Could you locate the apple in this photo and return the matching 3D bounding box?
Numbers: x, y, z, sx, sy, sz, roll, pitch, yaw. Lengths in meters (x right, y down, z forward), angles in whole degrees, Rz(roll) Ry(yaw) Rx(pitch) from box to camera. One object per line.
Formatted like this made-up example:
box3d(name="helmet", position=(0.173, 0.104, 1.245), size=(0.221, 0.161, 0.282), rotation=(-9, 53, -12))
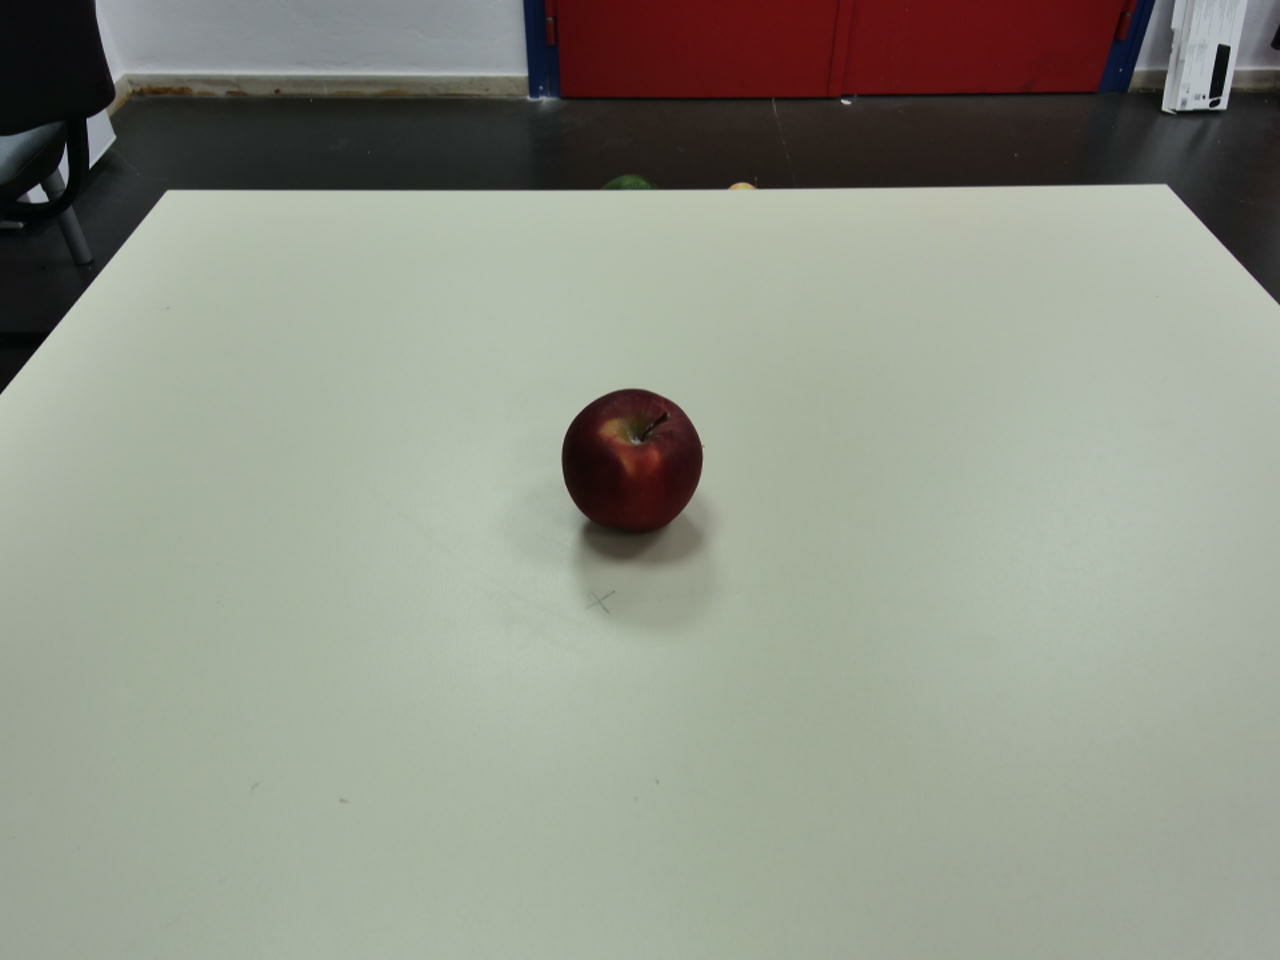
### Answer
box3d(name="apple", position=(-0.003, -0.008, 0.488), size=(0.070, 0.072, 0.070), rotation=(0, 39, 0))
